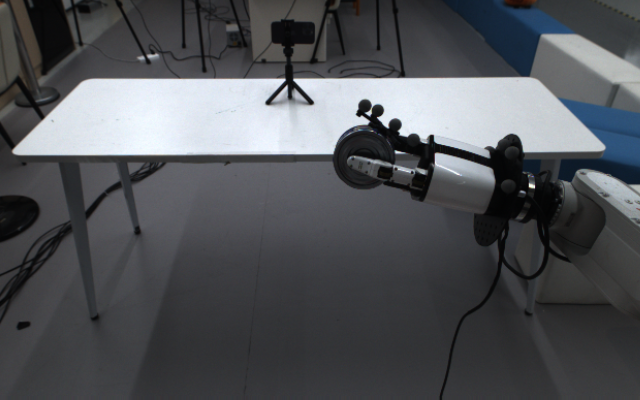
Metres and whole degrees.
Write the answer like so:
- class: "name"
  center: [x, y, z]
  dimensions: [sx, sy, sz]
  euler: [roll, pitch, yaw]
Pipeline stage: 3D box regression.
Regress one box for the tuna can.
- class: "tuna can"
  center: [0.064, -0.053, 0.666]
  dimensions: [0.085, 0.085, 0.034]
  euler: [6, 19, 6]
